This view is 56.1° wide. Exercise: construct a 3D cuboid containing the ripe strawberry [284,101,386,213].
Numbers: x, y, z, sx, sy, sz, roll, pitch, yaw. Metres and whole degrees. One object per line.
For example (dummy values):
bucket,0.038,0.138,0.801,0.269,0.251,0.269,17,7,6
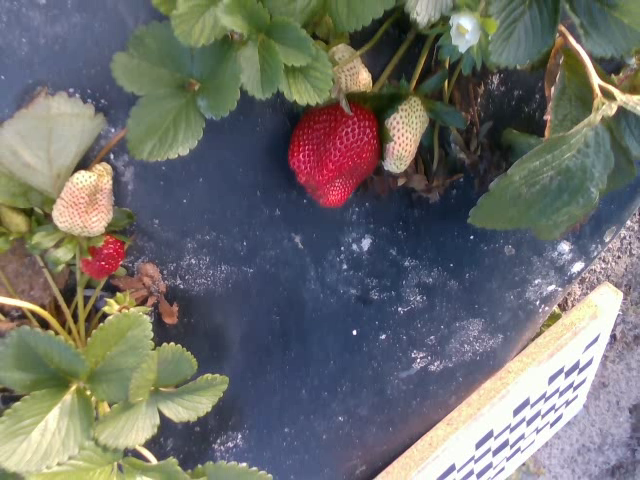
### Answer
ripe strawberry,0.008,-0.048,0.350,0.057,0.058,0.071,20,51,23
